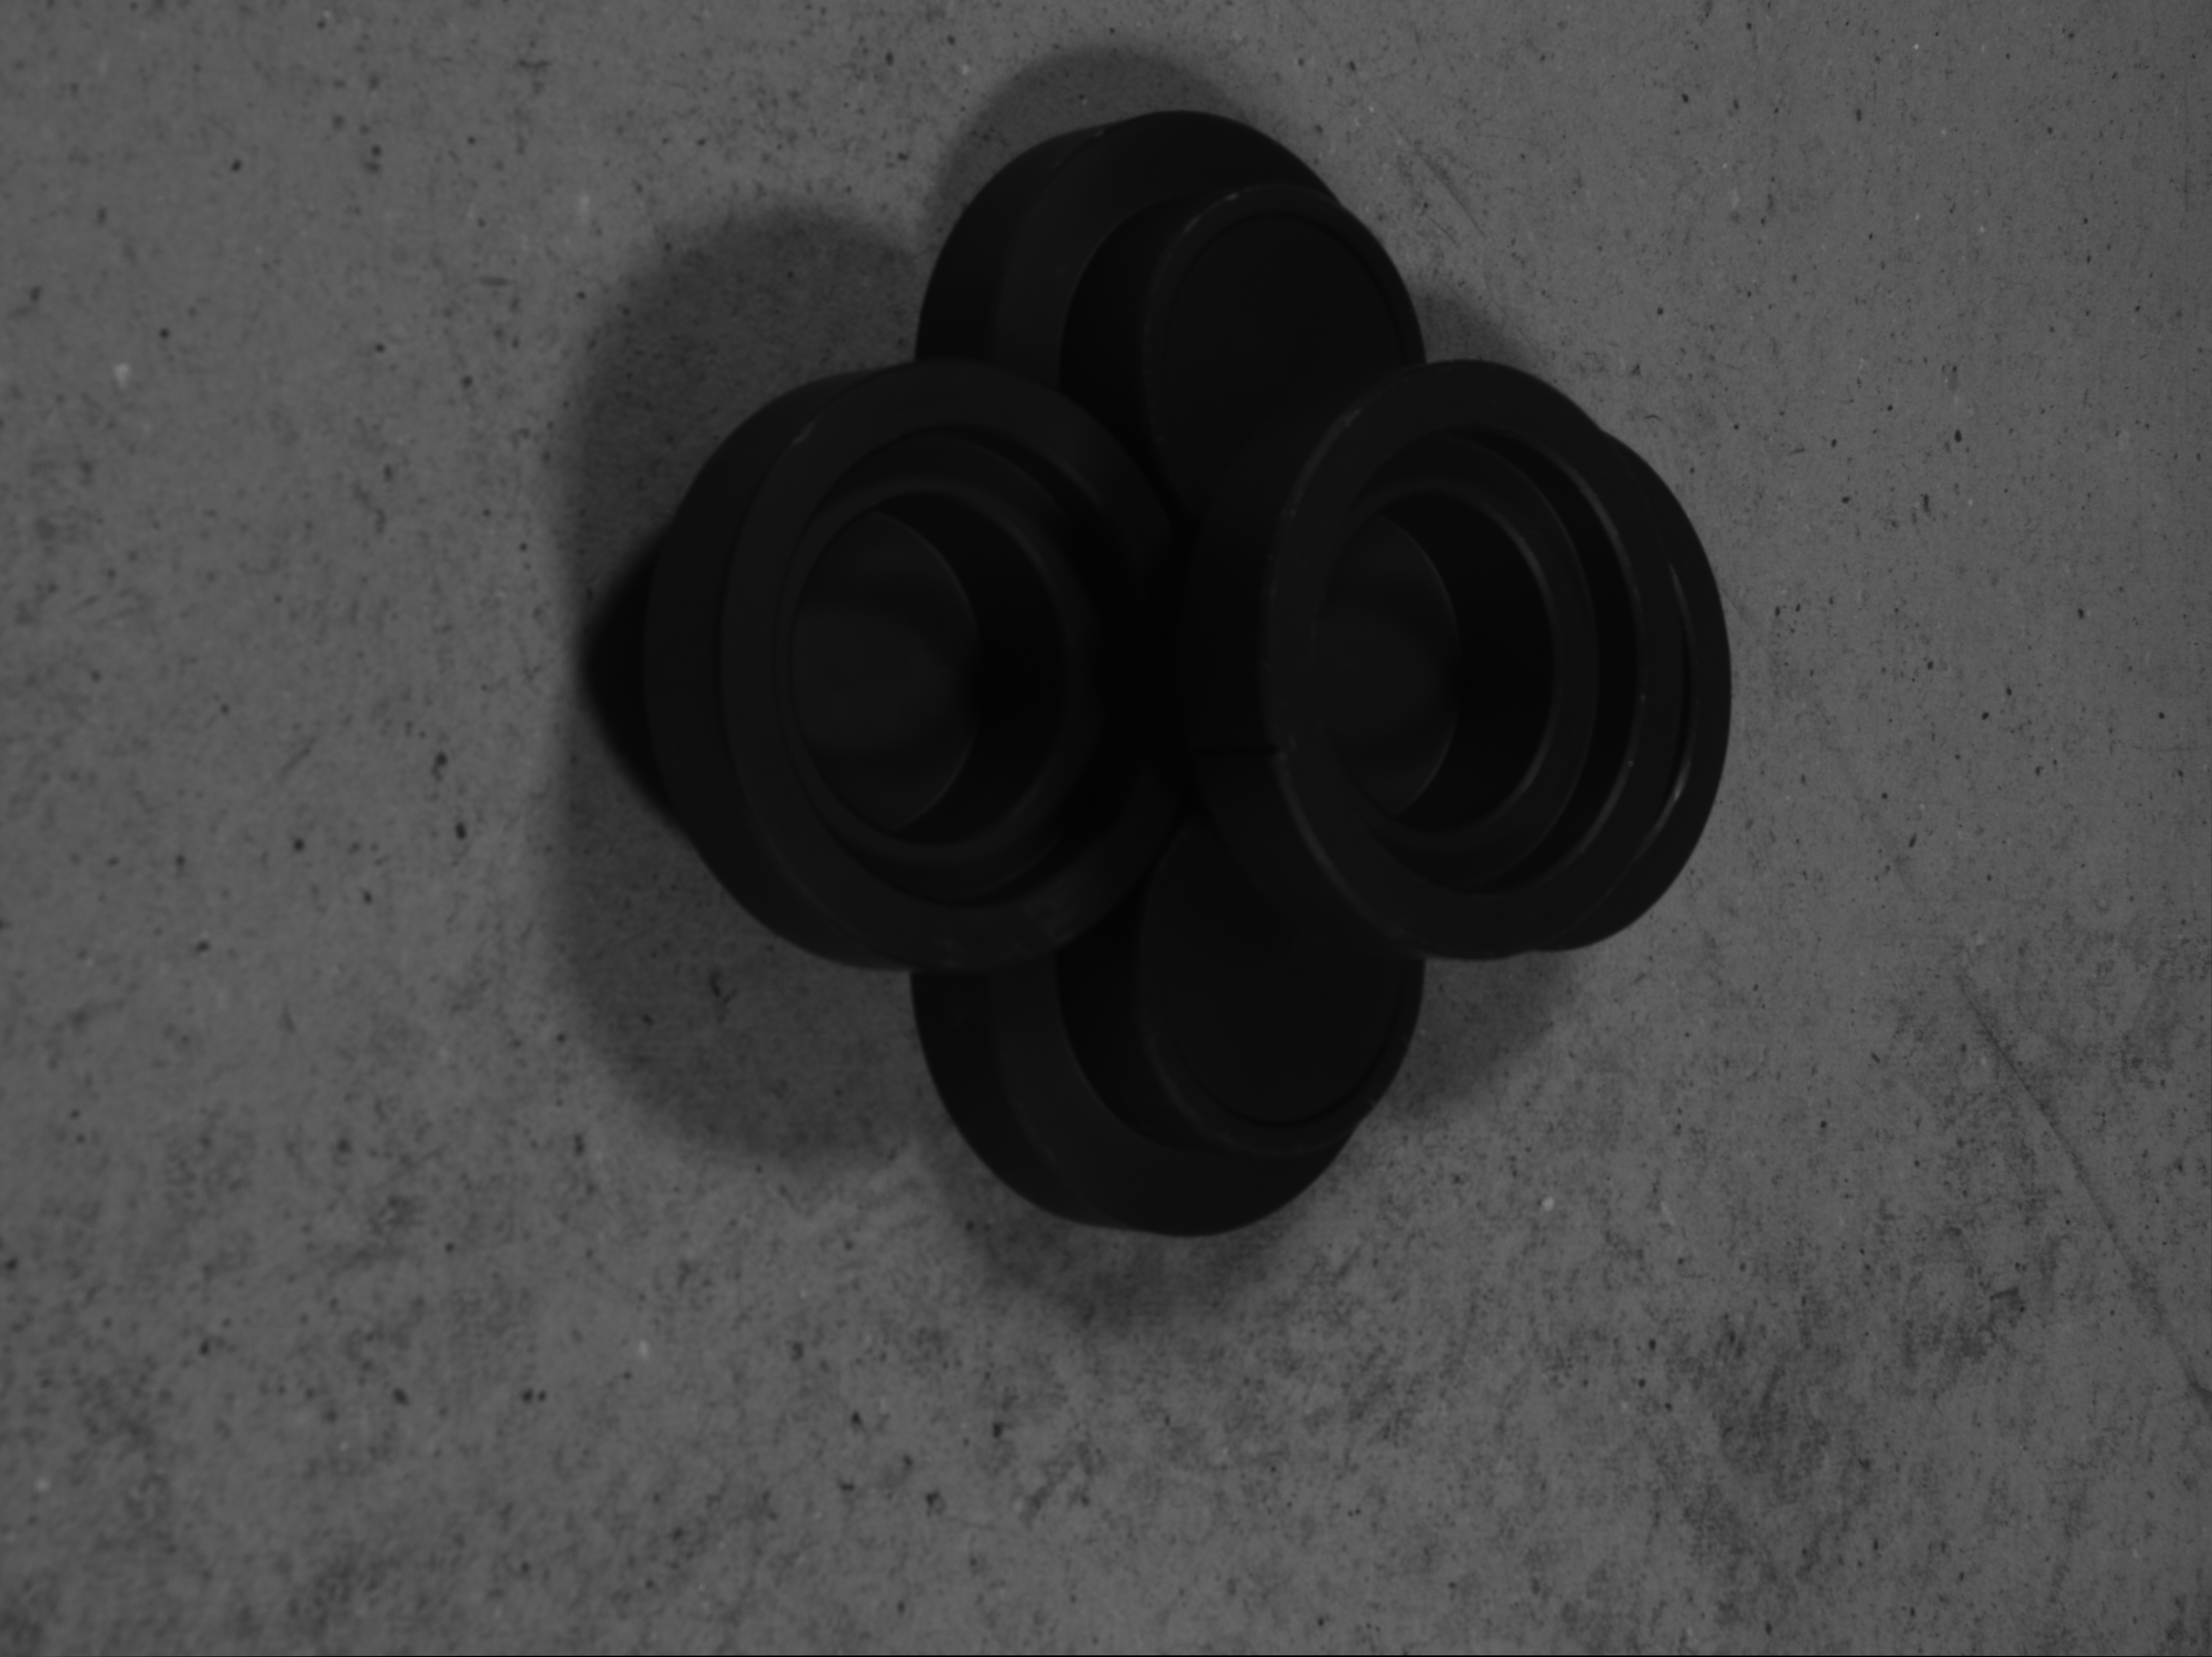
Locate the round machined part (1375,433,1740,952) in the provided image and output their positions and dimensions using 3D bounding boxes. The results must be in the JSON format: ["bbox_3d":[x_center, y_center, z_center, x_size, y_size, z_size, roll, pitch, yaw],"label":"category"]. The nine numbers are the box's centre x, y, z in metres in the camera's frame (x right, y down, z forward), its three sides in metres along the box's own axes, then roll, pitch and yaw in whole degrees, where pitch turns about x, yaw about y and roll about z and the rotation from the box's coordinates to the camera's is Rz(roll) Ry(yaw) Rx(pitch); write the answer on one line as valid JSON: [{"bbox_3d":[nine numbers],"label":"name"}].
[{"bbox_3d":[0.071,-0.026,0.685,0.098,0.042,0.098,0,90,-40],"label":"round machined part"}]

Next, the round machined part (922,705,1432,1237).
[{"bbox_3d":[0.019,0.023,0.642,0.098,0.042,0.098,0,90,-40],"label":"round machined part"}]

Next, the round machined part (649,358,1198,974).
[{"bbox_3d":[-0.034,-0.026,0.598,0.098,0.042,0.098,0,90,-40],"label":"round machined part"}]

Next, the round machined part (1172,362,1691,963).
[{"bbox_3d":[0.050,-0.027,0.613,0.098,0.042,0.098,0,90,-40],"label":"round machined part"}]

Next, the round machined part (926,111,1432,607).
[{"bbox_3d":[0.020,-0.077,0.642,0.098,0.042,0.098,0,90,-40],"label":"round machined part"}]
